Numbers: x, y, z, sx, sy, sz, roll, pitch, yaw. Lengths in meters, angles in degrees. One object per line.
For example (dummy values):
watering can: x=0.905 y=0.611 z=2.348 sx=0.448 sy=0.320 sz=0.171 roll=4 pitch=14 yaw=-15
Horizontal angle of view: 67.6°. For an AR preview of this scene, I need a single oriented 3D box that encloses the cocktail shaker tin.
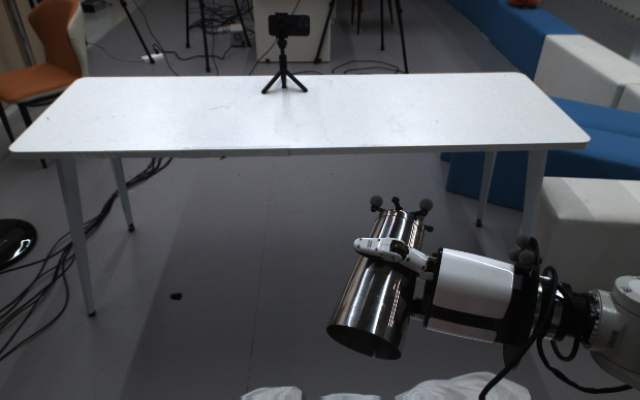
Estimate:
cocktail shaker tin: x=0.078 y=0.097 z=0.603 sx=0.093 sy=0.093 sz=0.170 roll=14 pitch=58 yaw=16
